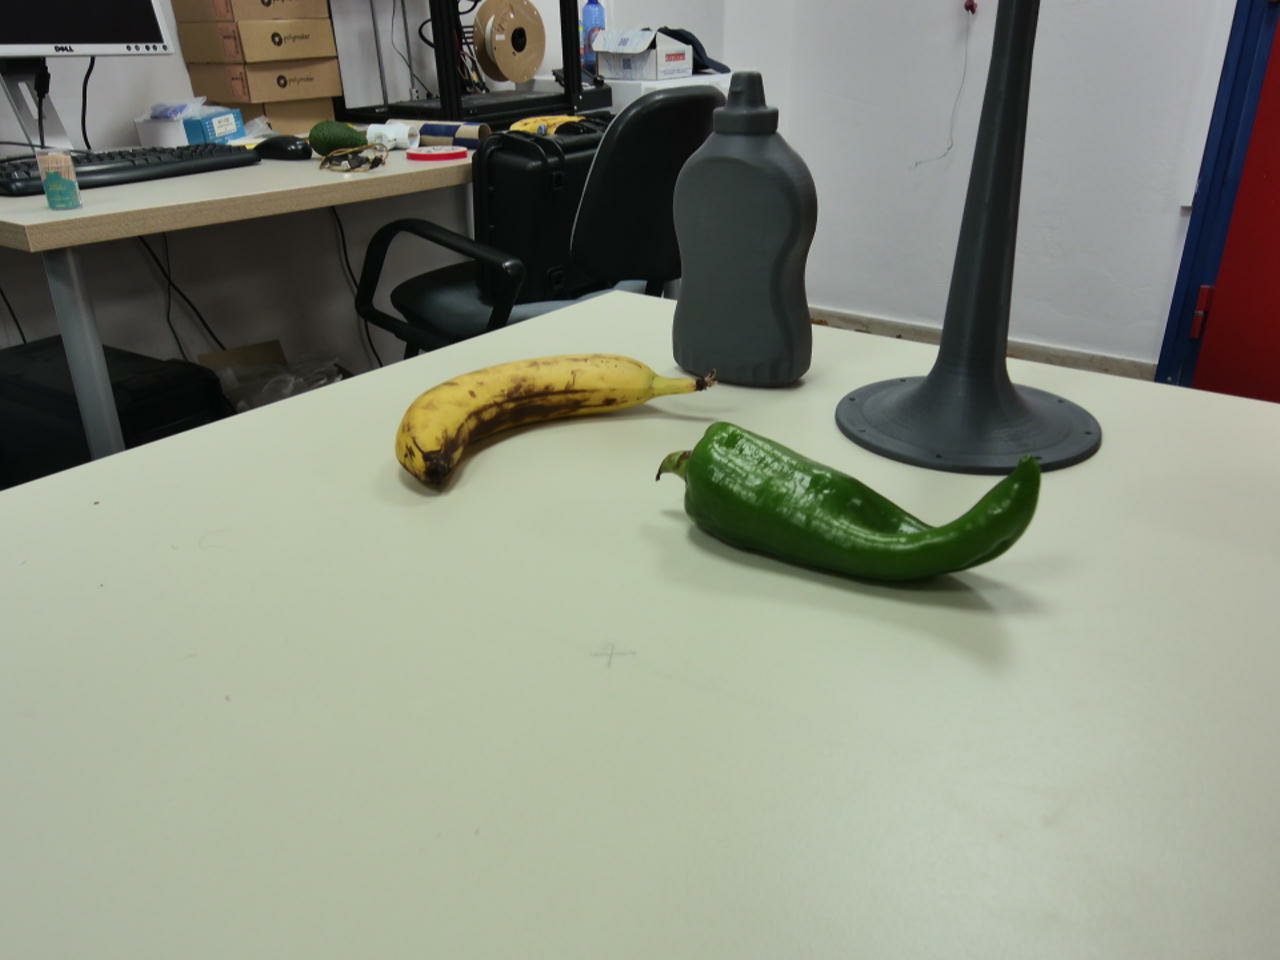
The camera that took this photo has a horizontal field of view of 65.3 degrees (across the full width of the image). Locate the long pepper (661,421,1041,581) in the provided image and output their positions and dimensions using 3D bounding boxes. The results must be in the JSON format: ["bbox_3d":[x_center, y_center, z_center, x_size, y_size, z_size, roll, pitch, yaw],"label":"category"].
[{"bbox_3d":[0.082,0.005,0.443,0.175,0.065,0.058,17,28,34],"label":"long pepper"}]
